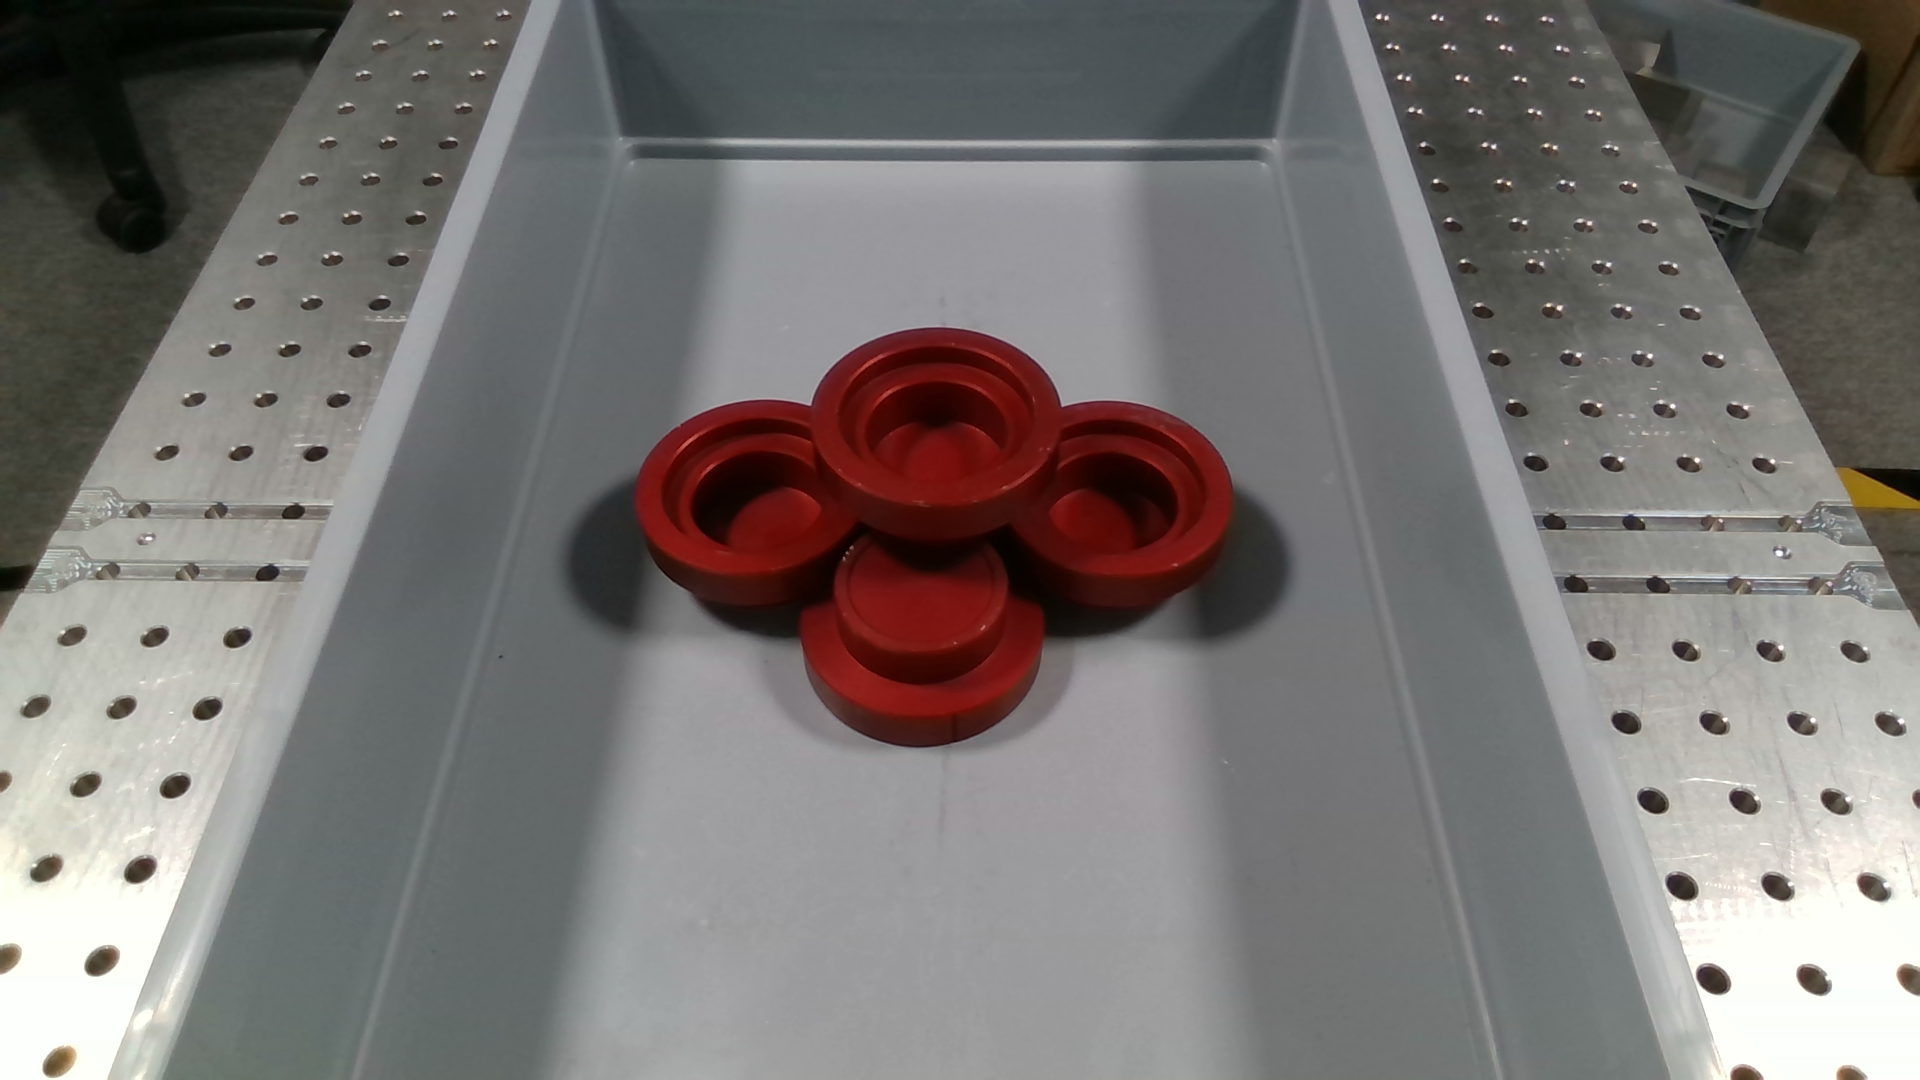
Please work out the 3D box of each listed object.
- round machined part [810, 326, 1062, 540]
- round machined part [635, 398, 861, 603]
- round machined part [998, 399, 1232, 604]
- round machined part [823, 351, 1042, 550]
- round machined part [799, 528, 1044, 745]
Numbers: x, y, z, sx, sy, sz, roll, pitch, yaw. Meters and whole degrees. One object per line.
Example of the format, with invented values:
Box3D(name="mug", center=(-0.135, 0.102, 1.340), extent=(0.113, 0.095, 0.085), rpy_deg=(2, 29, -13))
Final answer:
Box3D(name="round machined part", center=(-0.009, -0.038, 0.550), extent=(0.098, 0.042, 0.098), rpy_deg=(0, 50, 0))
Box3D(name="round machined part", center=(-0.085, -0.012, 0.584), extent=(0.098, 0.042, 0.098), rpy_deg=(0, 50, 0))
Box3D(name="round machined part", center=(0.063, -0.011, 0.583), extent=(0.098, 0.042, 0.098), rpy_deg=(0, 50, 0))
Box3D(name="round machined part", center=(-0.012, -0.046, 0.613), extent=(0.098, 0.042, 0.098), rpy_deg=(0, 50, 0))
Box3D(name="round machined part", center=(-0.015, 0.029, 0.549), extent=(0.098, 0.042, 0.098), rpy_deg=(0, 50, 0))
